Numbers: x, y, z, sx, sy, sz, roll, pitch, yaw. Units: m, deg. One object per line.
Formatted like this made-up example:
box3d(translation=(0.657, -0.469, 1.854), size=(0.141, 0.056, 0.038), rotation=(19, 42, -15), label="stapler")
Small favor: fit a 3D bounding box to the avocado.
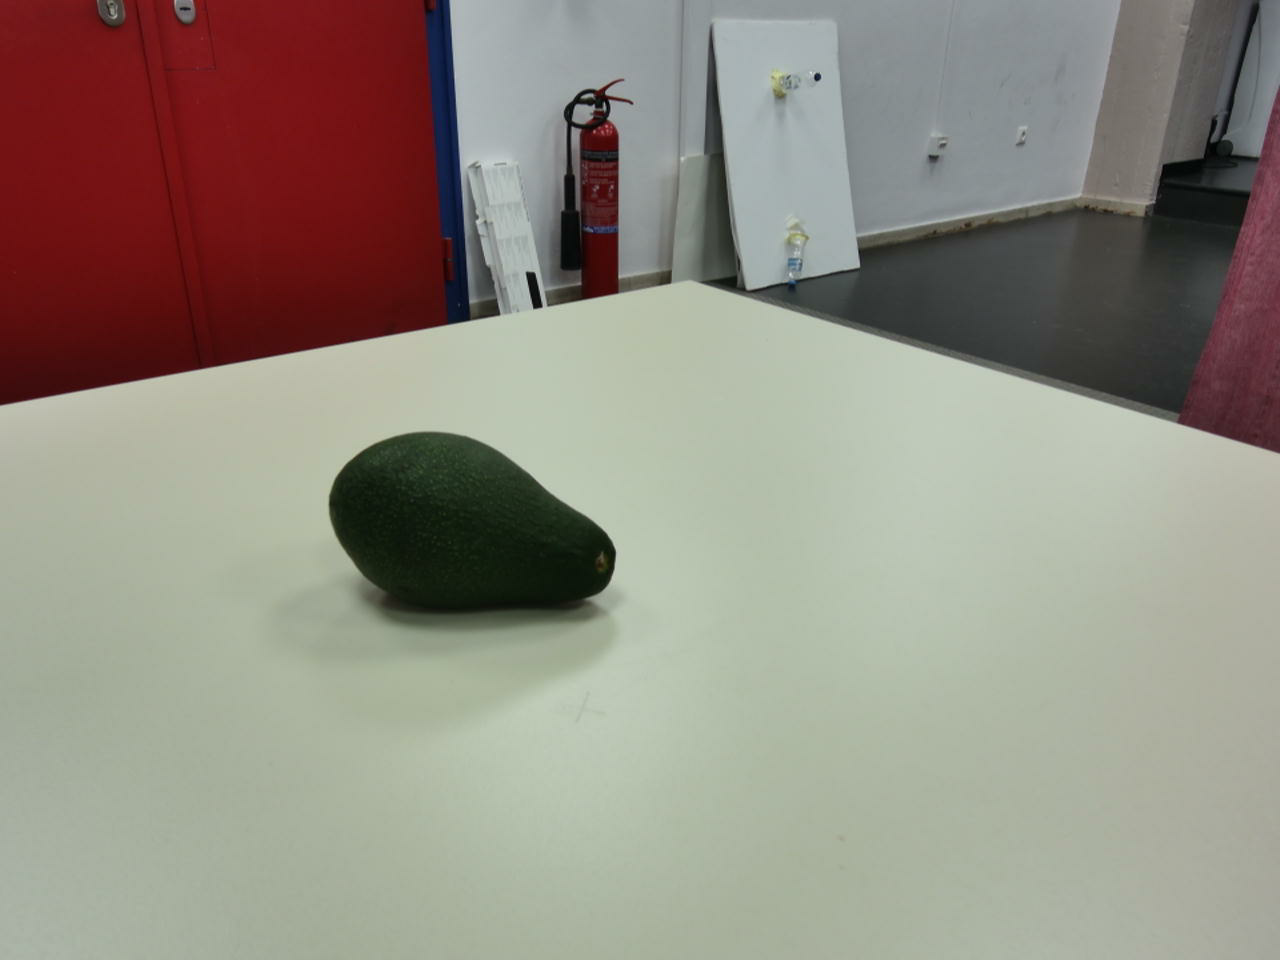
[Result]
box3d(translation=(-0.070, 0.018, 0.403), size=(0.110, 0.071, 0.072), rotation=(12, 26, 25), label="avocado")
